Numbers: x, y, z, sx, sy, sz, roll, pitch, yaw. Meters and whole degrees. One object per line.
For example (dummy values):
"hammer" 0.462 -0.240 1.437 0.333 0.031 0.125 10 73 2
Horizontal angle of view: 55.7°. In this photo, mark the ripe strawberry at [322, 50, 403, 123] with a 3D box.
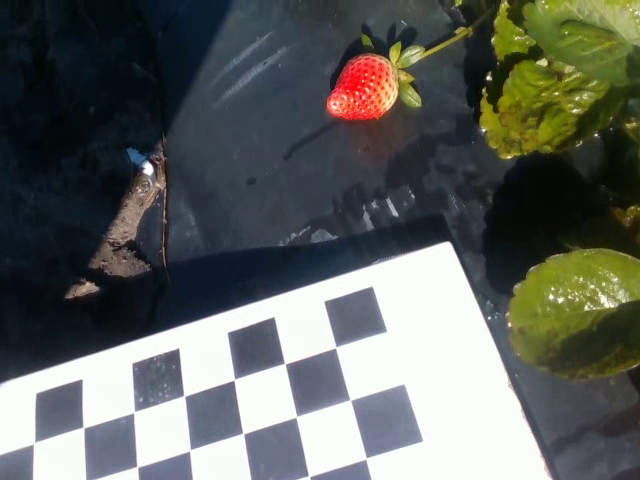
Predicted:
"ripe strawberry" 0.022 -0.079 0.328 0.053 0.039 0.041 -27 -33 -22
